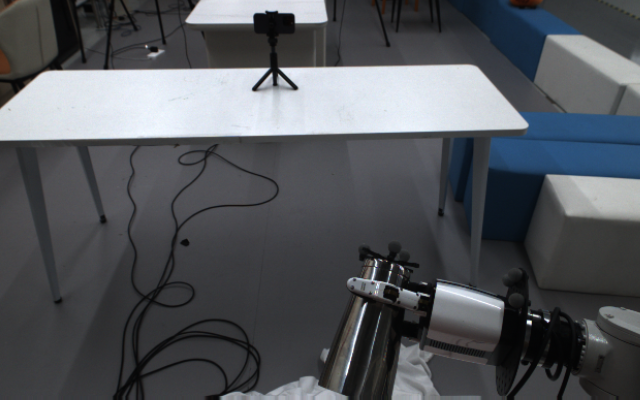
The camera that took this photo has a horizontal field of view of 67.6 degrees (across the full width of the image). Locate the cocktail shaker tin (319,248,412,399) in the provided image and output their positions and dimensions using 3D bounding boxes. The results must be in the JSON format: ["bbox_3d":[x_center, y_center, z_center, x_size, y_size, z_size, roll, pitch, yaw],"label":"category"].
[{"bbox_3d":[0.067,0.164,0.628,0.093,0.093,0.170,13,71,15],"label":"cocktail shaker tin"}]
